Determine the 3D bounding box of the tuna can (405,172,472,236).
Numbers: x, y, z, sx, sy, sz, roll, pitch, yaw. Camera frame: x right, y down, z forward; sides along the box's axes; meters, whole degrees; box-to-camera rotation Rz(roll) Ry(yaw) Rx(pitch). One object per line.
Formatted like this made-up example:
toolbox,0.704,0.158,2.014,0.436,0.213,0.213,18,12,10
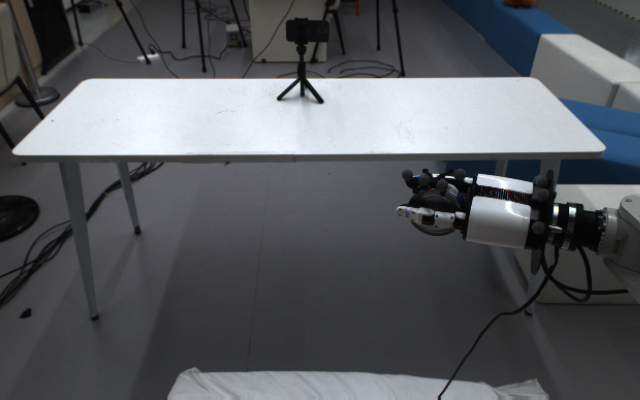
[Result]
tuna can,0.185,0.011,0.765,0.085,0.085,0.034,15,35,17
